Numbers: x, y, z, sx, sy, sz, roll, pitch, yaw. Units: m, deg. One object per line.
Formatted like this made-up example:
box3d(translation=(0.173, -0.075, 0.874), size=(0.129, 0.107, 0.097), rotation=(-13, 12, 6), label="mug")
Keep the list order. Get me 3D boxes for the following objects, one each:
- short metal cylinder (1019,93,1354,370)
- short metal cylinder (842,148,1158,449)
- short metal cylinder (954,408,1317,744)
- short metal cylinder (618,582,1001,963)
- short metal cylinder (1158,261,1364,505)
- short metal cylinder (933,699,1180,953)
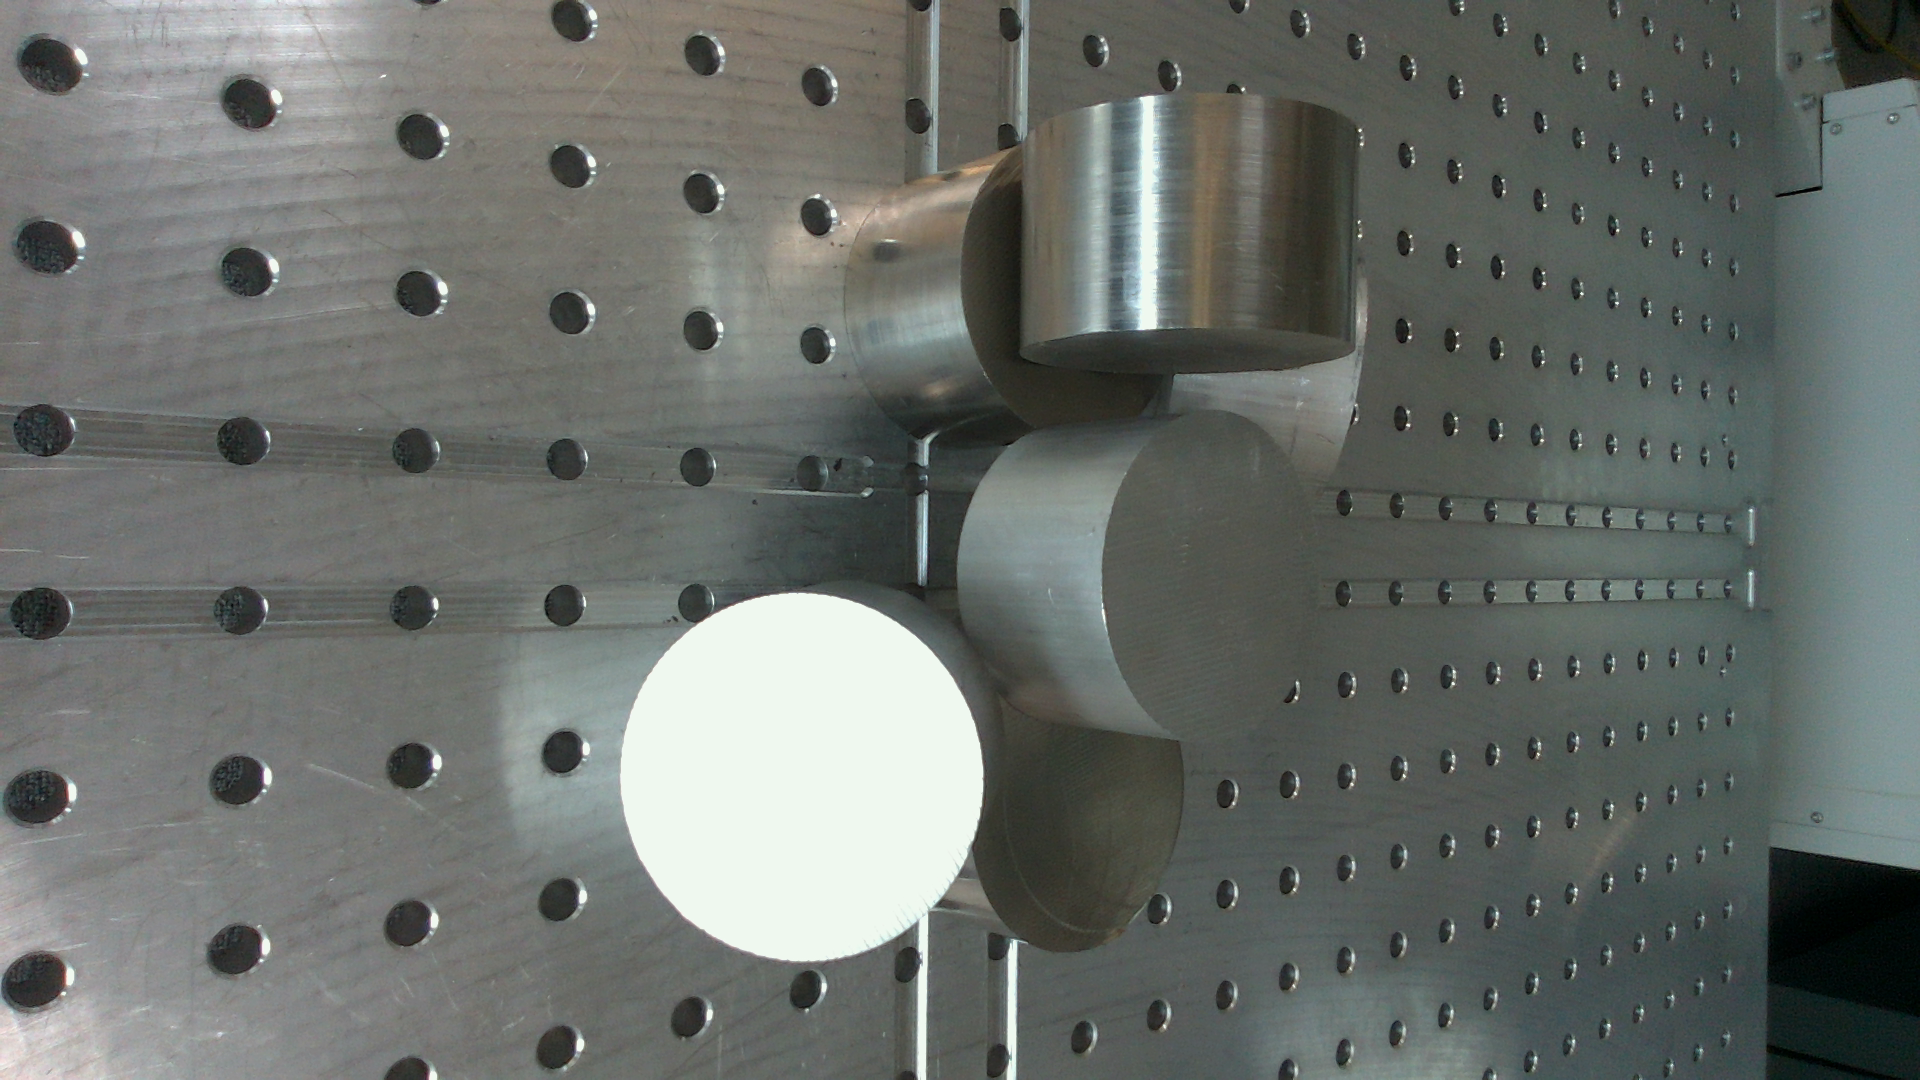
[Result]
box3d(translation=(0.055, -0.071, 0.335), size=(0.080, 0.080, 0.050), rotation=(0, 90, -40), label="short metal cylinder")
box3d(translation=(0.014, -0.067, 0.387), size=(0.080, 0.050, 0.080), rotation=(-1, 91, -40), label="short metal cylinder")
box3d(translation=(0.045, 0.009, 0.348), size=(0.080, 0.050, 0.080), rotation=(0, 90, -40), label="short metal cylinder")
box3d(translation=(-0.032, 0.051, 0.322), size=(0.050, 0.080, 0.080), rotation=(-14, 103, -84), label="short metal cylinder")
box3d(translation=(0.086, -0.053, 0.419), size=(0.050, 0.080, 0.080), rotation=(8, 83, 1), label="short metal cylinder")
box3d(translation=(0.017, 0.070, 0.389), size=(0.080, 0.050, 0.080), rotation=(-1, 91, -40), label="short metal cylinder")
